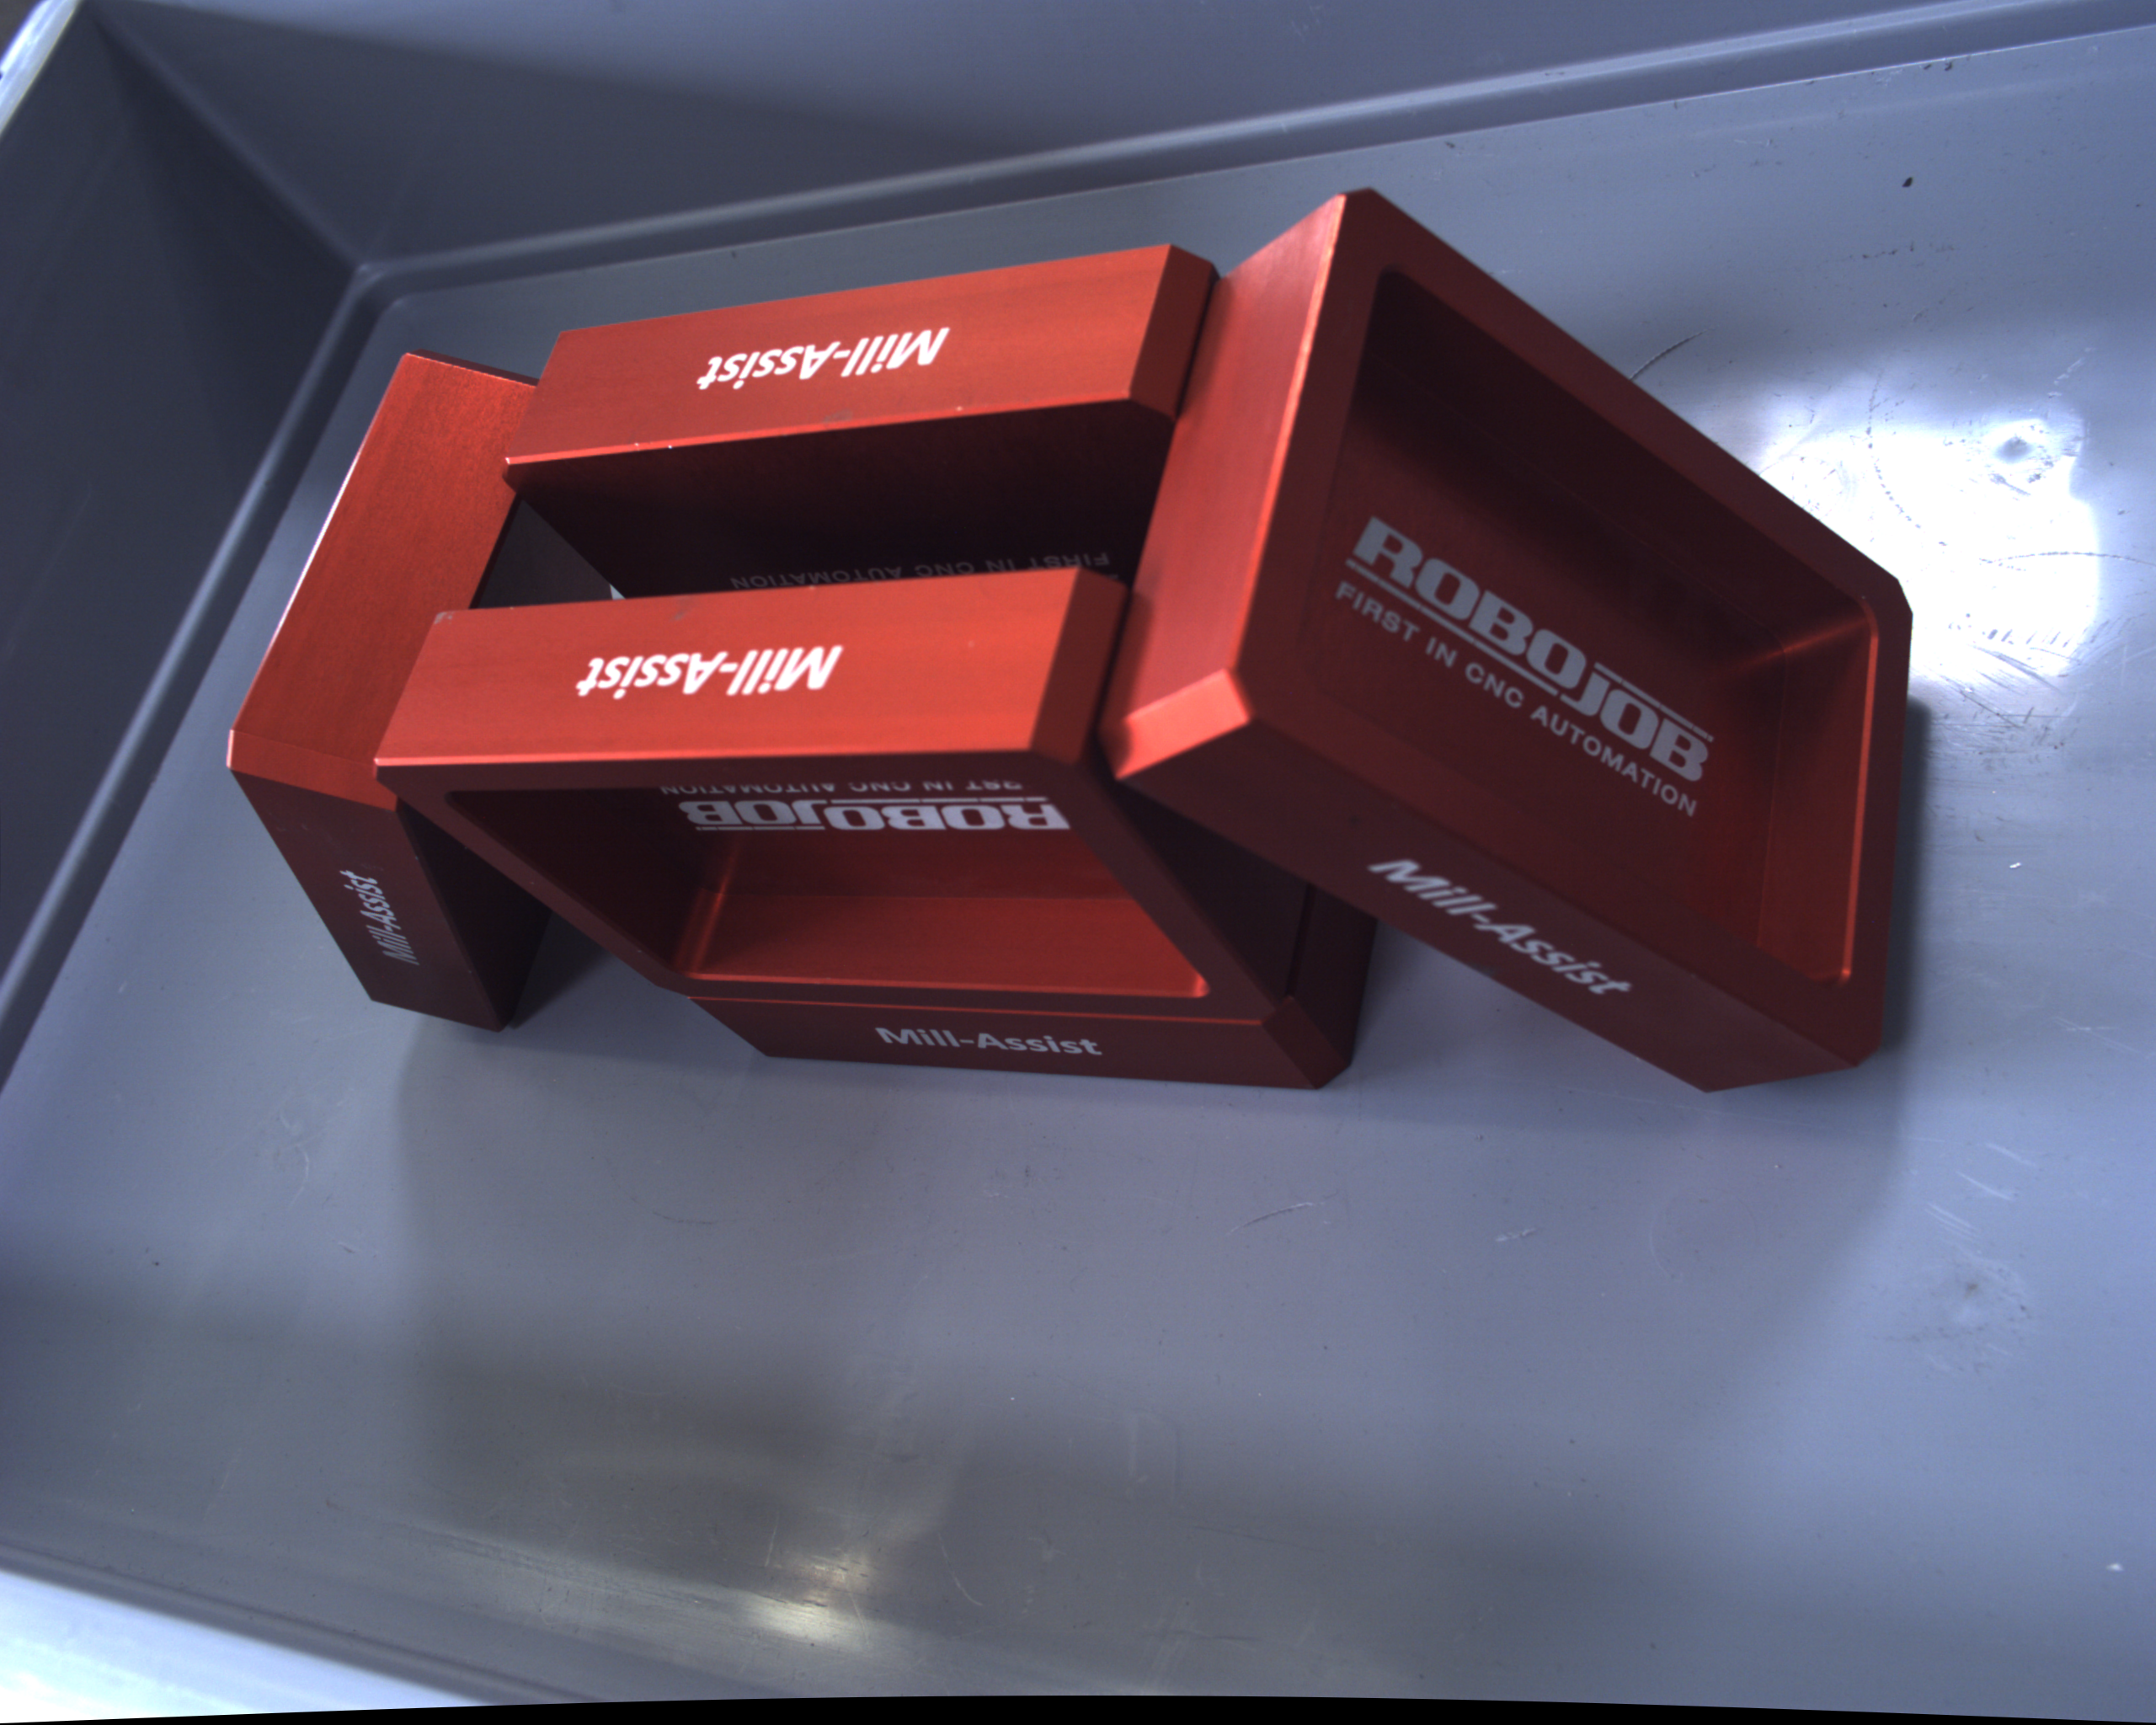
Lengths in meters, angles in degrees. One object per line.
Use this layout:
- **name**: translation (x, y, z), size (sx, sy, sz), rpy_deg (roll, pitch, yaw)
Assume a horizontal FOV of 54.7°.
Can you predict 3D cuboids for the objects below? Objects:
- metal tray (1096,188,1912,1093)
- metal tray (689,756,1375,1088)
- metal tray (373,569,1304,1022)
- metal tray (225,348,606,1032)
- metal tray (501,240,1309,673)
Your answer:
- **metal tray**: translation (0.072, -0.030, 0.318), size (0.030, 0.131, 0.090), rpy_deg (-22, 47, 53)
- **metal tray**: translation (-0.006, -0.006, 0.408), size (0.130, 0.030, 0.090), rpy_deg (0, 62, 27)
- **metal tray**: translation (-0.038, -0.008, 0.348), size (0.130, 0.090, 0.030), rpy_deg (0, 62, 28)
- **metal tray**: translation (-0.125, -0.029, 0.422), size (0.030, 0.129, 0.090), rpy_deg (15, 66, -1)
- **metal tray**: translation (-0.024, -0.061, 0.373), size (0.130, 0.090, 0.030), rpy_deg (0, 62, 28)
